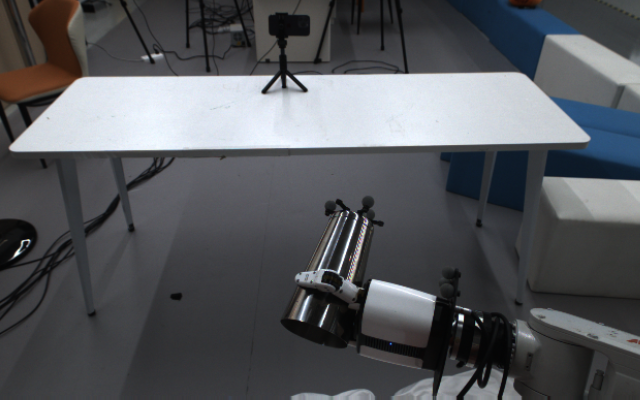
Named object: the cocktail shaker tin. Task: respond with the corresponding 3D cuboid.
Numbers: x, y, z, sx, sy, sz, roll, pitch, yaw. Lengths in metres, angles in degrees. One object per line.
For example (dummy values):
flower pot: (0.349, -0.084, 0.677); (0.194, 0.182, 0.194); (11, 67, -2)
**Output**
cocktail shaker tin: (0.017, 0.101, 0.656); (0.093, 0.093, 0.170); (14, 59, 16)
